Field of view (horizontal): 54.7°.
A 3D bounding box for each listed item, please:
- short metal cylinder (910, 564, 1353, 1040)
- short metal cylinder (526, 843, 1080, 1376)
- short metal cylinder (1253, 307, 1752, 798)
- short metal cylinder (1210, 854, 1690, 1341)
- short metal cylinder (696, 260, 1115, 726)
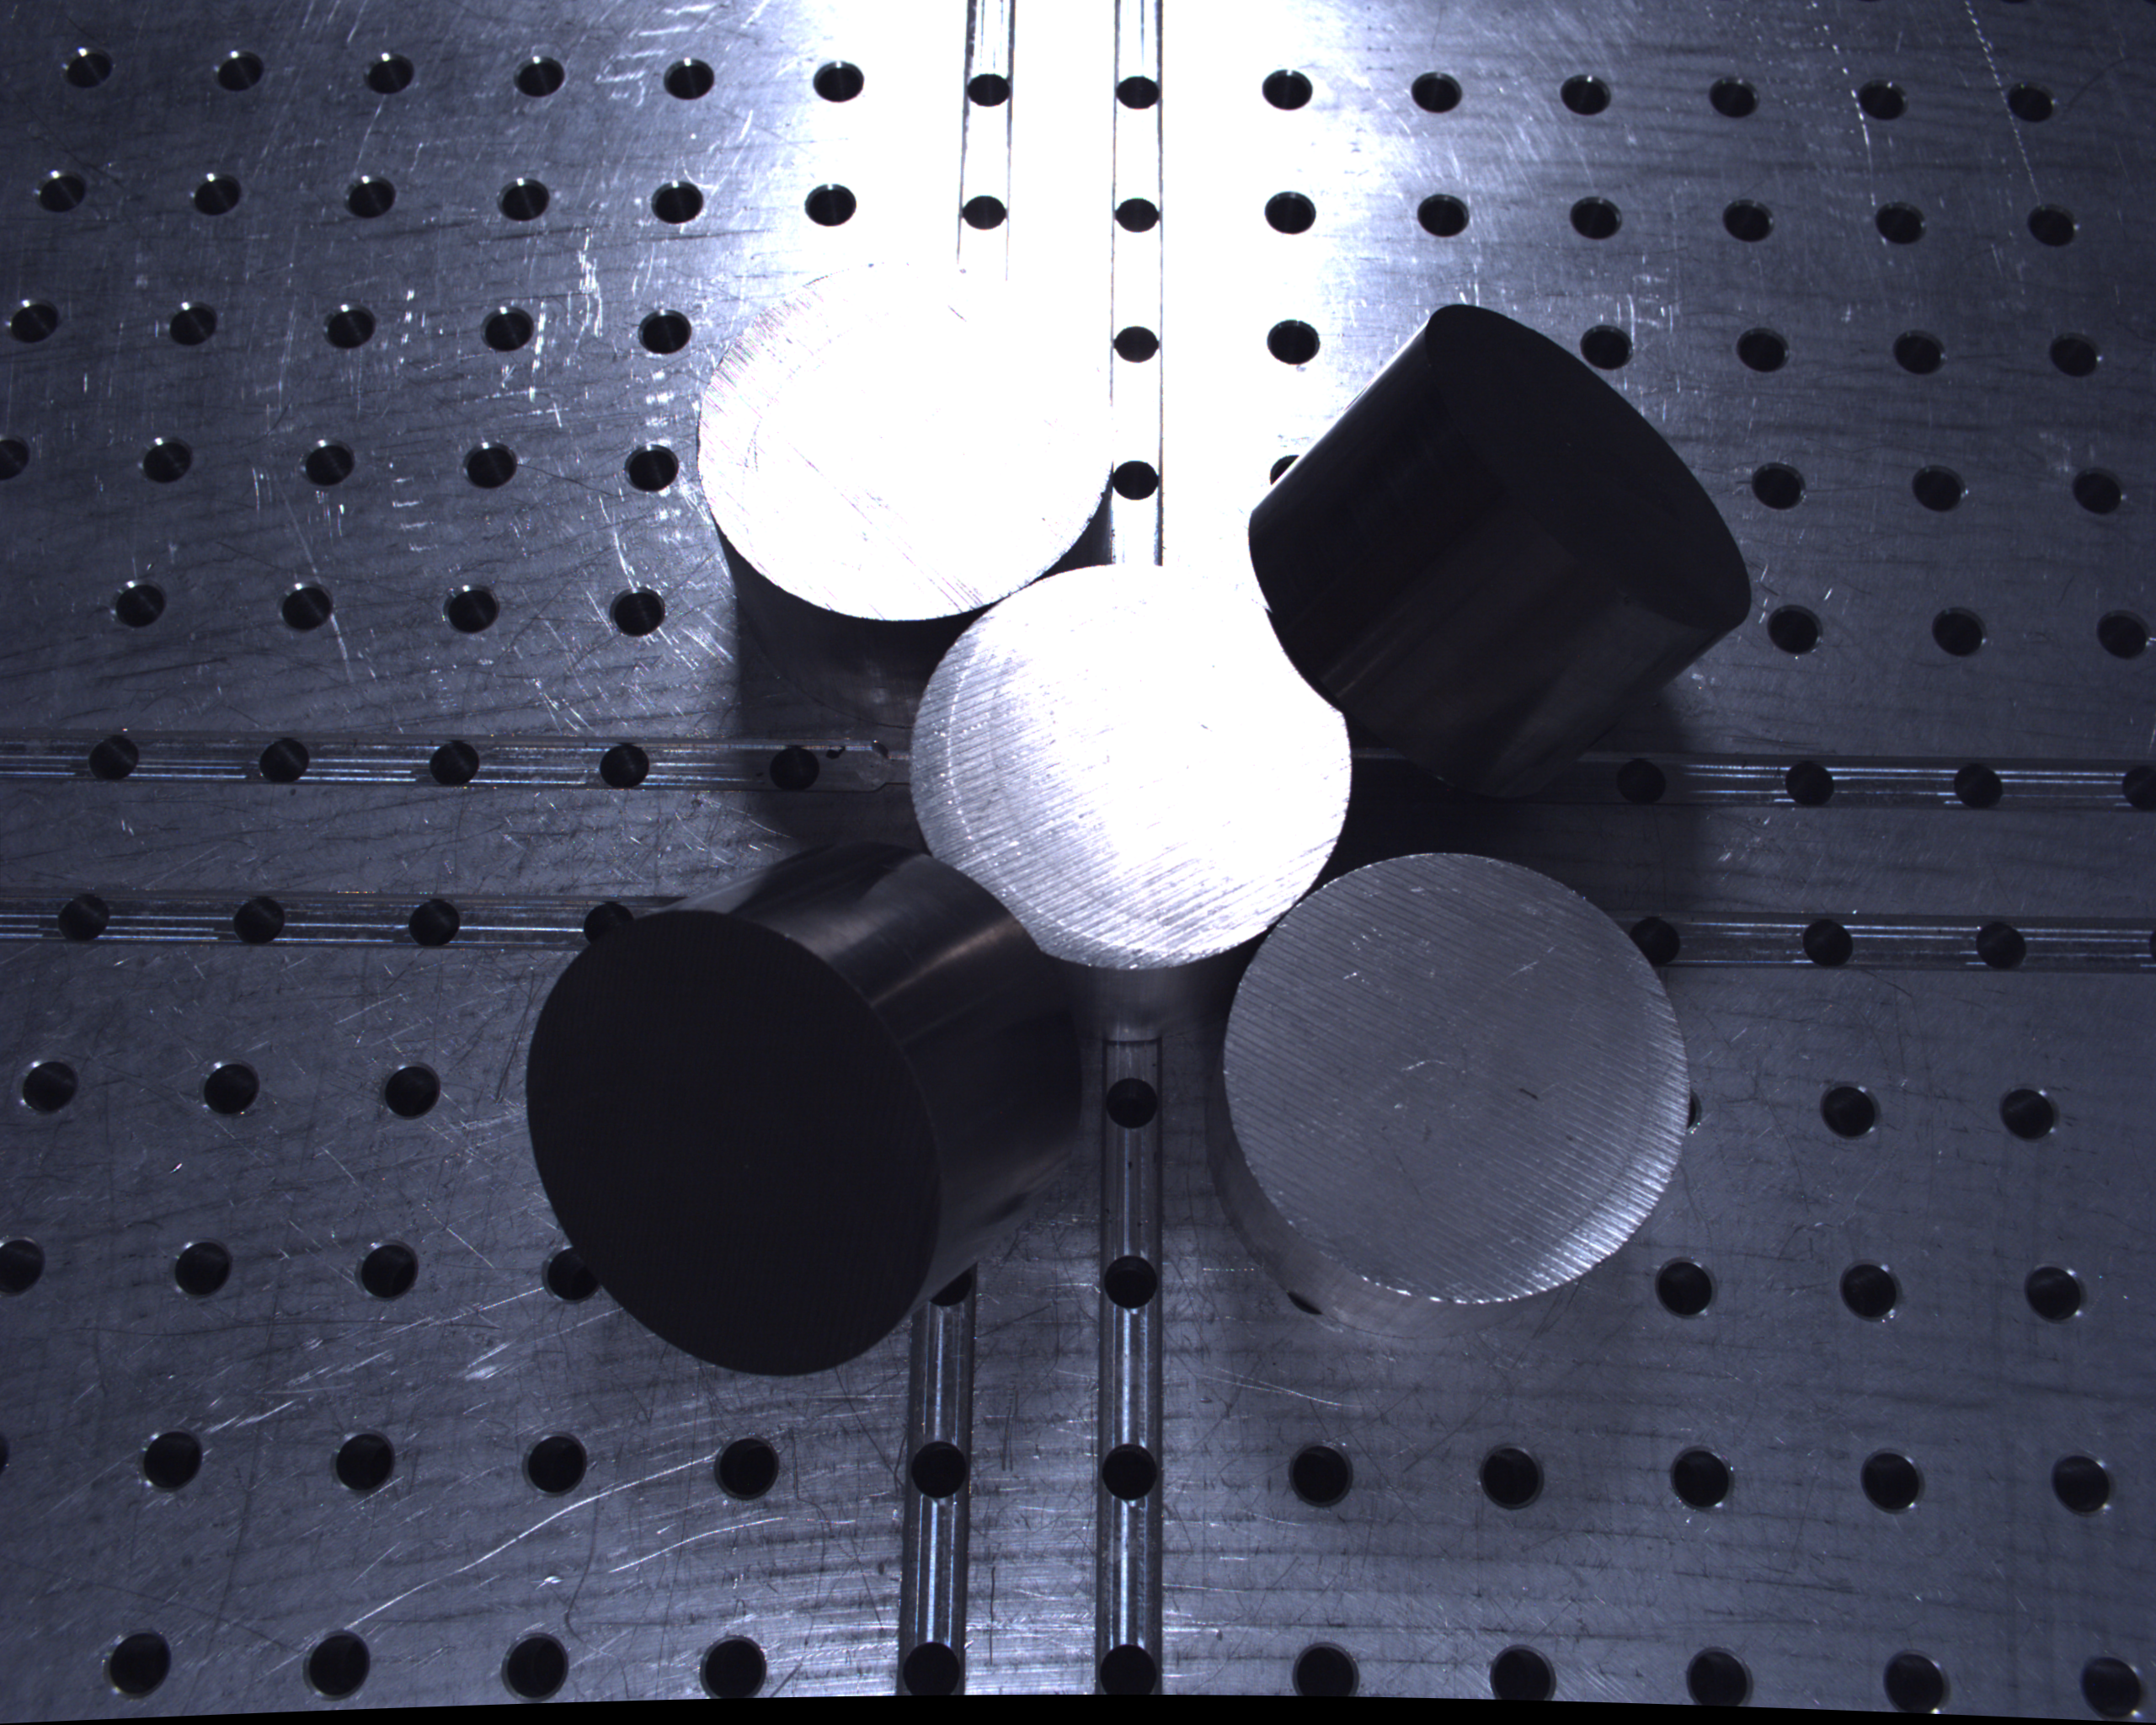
[{"bbox_3d":[0.010,-0.010,0.402,0.081,0.050,0.080,0,70,0],"label":"short metal cylinder"},{"bbox_3d":[-0.047,0.041,0.361,0.080,0.050,0.079,7,106,24],"label":"short metal cylinder"},{"bbox_3d":[0.081,-0.059,0.399,0.080,0.050,0.080,26,40,-24],"label":"short metal cylinder"},{"bbox_3d":[0.065,0.044,0.383,0.081,0.050,0.080,0,70,0],"label":"short metal cylinder"},{"bbox_3d":[-0.033,-0.074,0.425,0.081,0.050,0.080,0,70,0],"label":"short metal cylinder"}]
